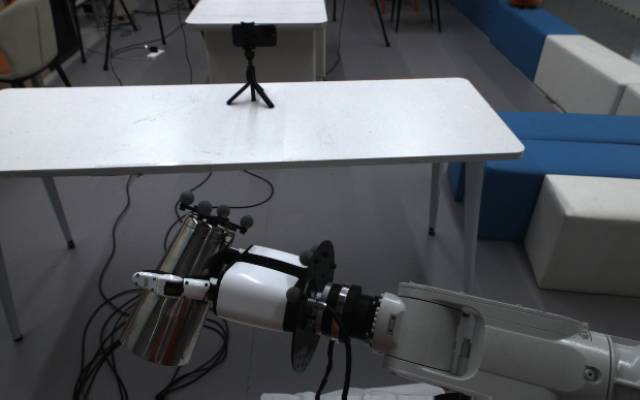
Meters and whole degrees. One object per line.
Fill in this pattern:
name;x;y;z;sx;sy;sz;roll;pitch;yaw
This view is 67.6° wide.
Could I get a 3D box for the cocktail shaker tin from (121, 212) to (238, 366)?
cocktail shaker tin;-0.170;0.105;0.607;0.093;0.170;0.093;24;0;0
